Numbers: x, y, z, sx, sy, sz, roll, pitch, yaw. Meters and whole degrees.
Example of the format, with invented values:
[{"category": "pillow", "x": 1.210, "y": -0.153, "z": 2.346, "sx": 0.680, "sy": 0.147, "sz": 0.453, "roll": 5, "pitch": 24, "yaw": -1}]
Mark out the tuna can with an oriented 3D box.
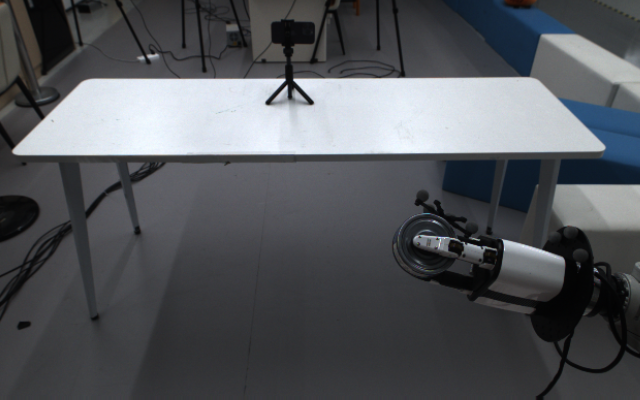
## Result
[{"category": "tuna can", "x": 0.147, "y": 0.060, "z": 0.661, "sx": 0.085, "sy": 0.034, "sz": 0.085, "roll": 0, "pitch": 74, "yaw": 0}]
